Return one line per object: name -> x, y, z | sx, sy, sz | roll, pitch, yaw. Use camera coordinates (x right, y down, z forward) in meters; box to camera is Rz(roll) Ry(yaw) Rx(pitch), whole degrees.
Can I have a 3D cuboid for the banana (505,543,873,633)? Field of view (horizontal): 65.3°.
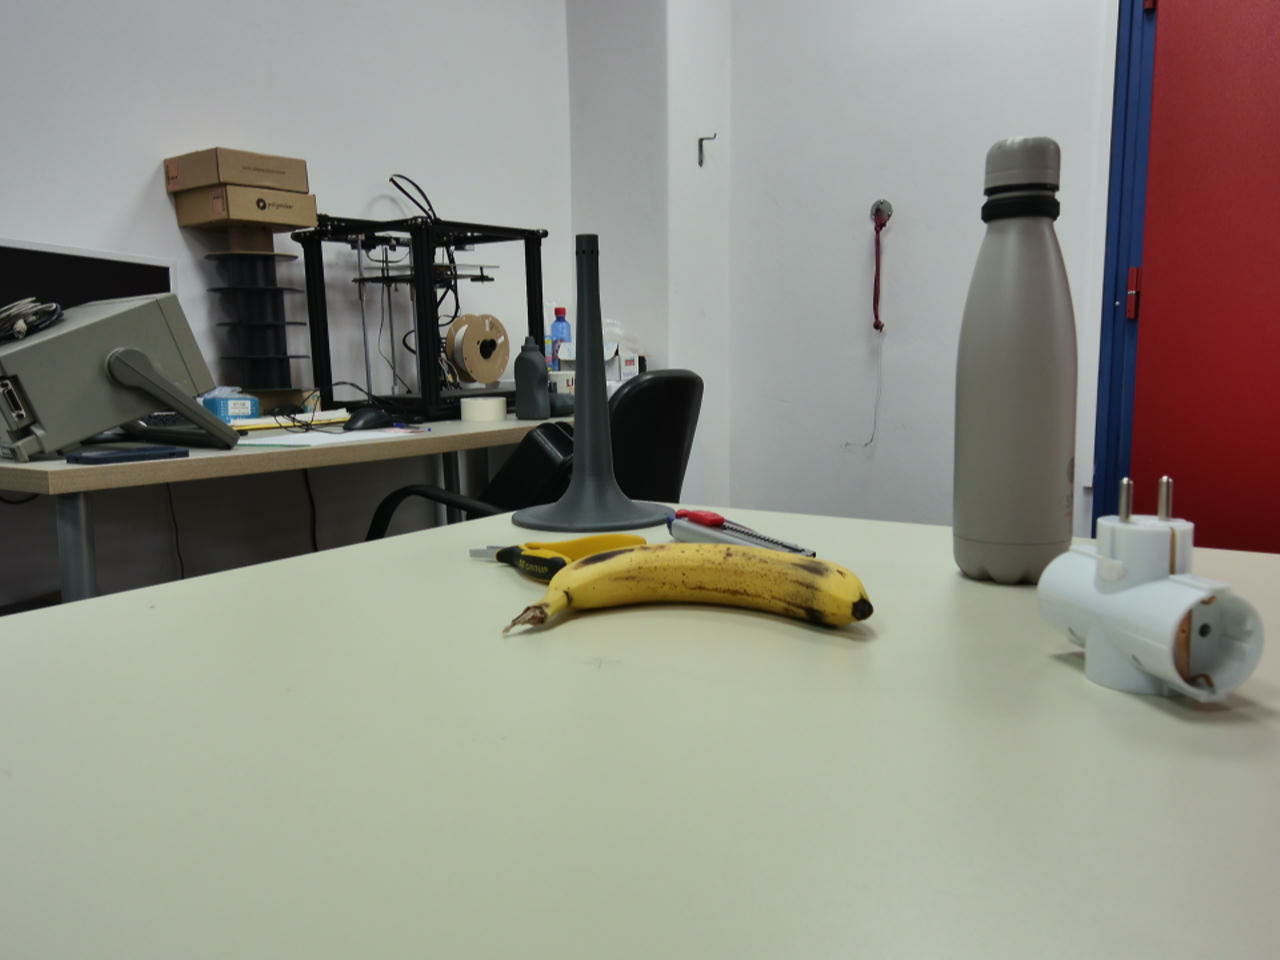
banana -> 0.032, 0.059, 0.562 | 0.186, 0.038, 0.097 | 1, 5, 8
